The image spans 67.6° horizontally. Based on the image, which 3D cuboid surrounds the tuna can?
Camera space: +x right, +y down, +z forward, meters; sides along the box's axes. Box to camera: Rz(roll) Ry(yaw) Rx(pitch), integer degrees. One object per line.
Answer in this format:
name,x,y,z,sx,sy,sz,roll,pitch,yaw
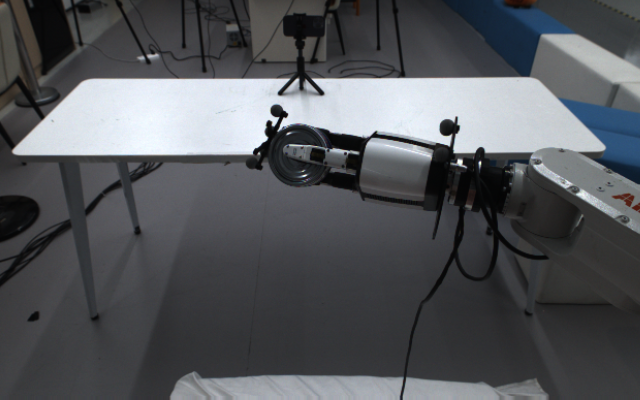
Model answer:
tuna can,-0.023,-0.057,0.656,0.085,0.085,0.034,9,5,10
